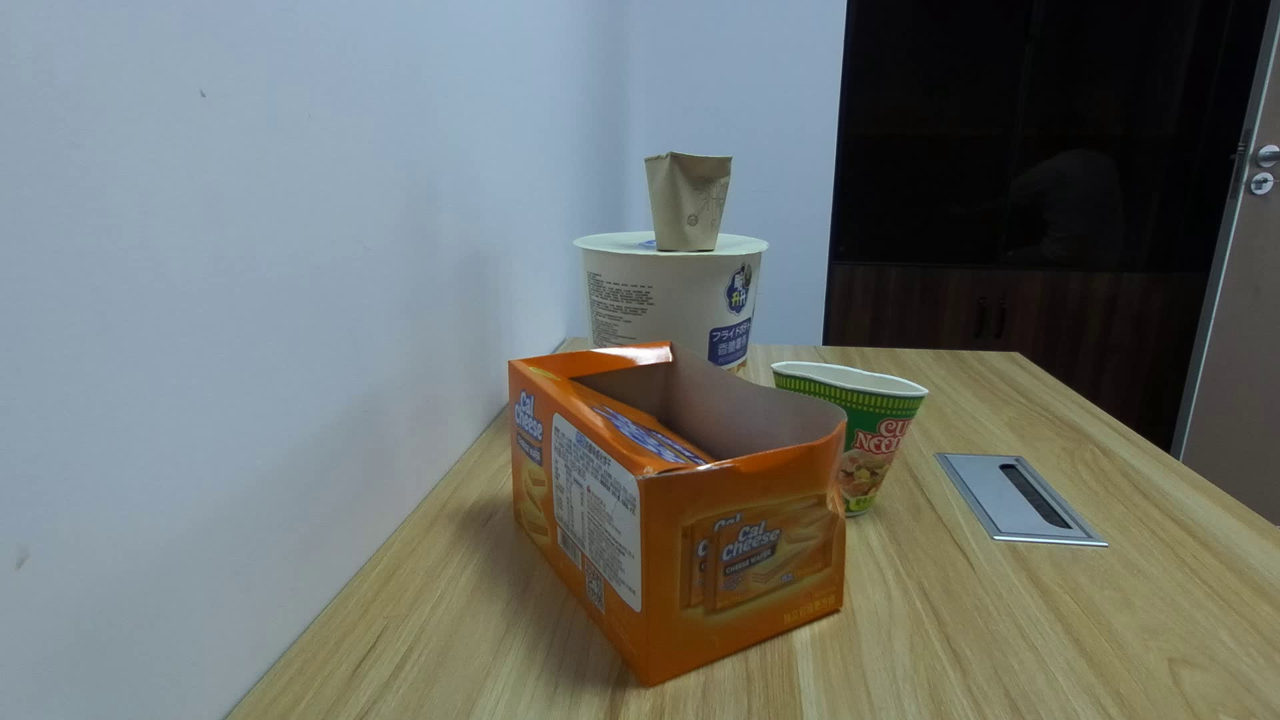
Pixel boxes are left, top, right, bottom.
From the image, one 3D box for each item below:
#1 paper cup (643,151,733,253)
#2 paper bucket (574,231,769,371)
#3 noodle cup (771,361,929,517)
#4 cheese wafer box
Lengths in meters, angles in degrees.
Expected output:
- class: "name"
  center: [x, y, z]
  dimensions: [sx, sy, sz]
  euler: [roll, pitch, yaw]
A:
- class: "paper cup"
  center: [0.044, -0.142, 0.634]
  dimensions: [0.066, 0.084, 0.071]
  euler: [-6, 15, -22]
- class: "paper bucket"
  center: [0.029, -0.022, 0.709]
  dimensions: [0.198, 0.194, 0.198]
  euler: [0, 17, 0]
- class: "noodle cup"
  center: [0.158, 0.060, 0.569]
  dimensions: [0.070, 0.111, 0.114]
  euler: [-13, 22, -29]
- class: "cheese wafer box"
  center: [0.018, 0.081, 0.482]
  dimensions: [0.153, 0.132, 0.229]
  euler: [-7, 17, -28]
